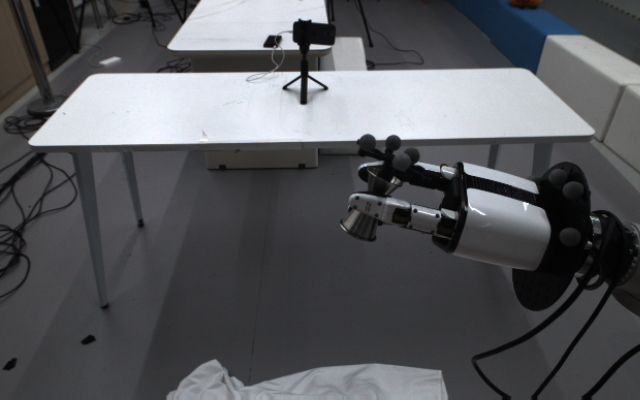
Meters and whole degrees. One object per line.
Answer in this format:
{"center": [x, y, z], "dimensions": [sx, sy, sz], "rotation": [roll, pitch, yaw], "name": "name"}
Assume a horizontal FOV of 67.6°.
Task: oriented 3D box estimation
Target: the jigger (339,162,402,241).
{"center": [0.051, 0.002, 0.512], "dimensions": [0.043, 0.071, 0.043], "rotation": [23, 19, -8], "name": "jigger"}
